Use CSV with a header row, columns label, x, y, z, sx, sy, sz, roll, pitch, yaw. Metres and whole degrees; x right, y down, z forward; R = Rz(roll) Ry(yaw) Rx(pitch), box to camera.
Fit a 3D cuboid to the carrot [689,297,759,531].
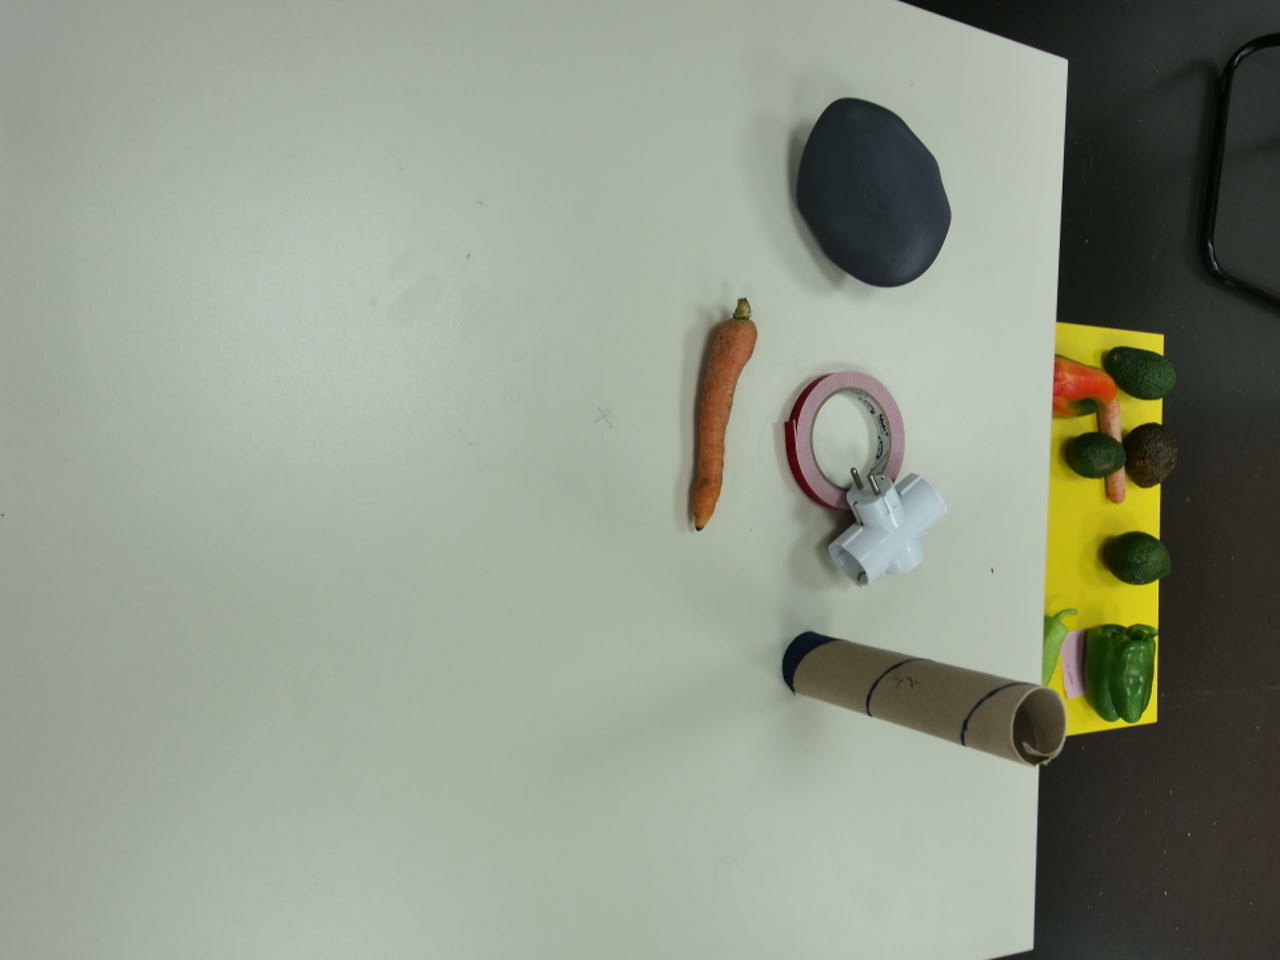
label,x,y,z,sx,sy,sz,roll,pitch,yaw
carrot,0.058,-0.047,0.718,0.030,0.032,0.173,14,84,-28
